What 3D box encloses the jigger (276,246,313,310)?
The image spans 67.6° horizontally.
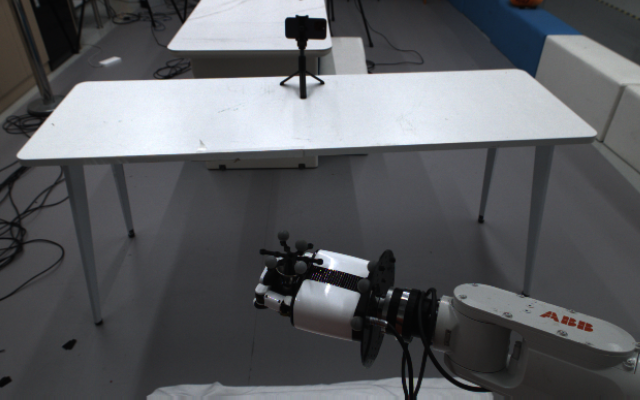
[{"bbox_3d":[-0.042,0.124,0.690,0.043,0.071,0.043,5,26,-3],"label":"jigger"}]
